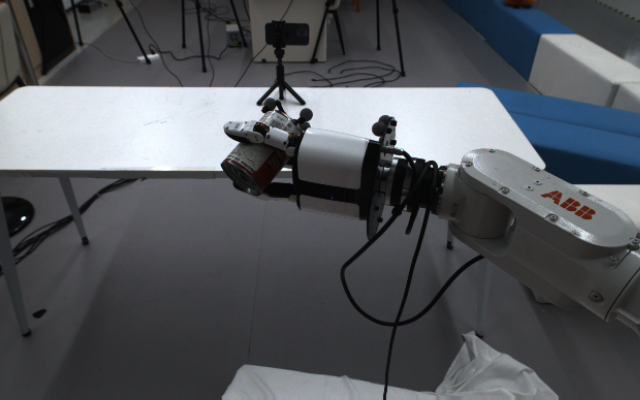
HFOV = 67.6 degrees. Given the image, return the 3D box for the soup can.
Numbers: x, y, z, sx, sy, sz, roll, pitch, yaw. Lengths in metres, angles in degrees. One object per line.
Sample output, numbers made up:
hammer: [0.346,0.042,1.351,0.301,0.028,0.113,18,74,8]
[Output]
soup can: [-0.076,-0.064,0.657,0.067,0.067,0.101,25,66,30]
